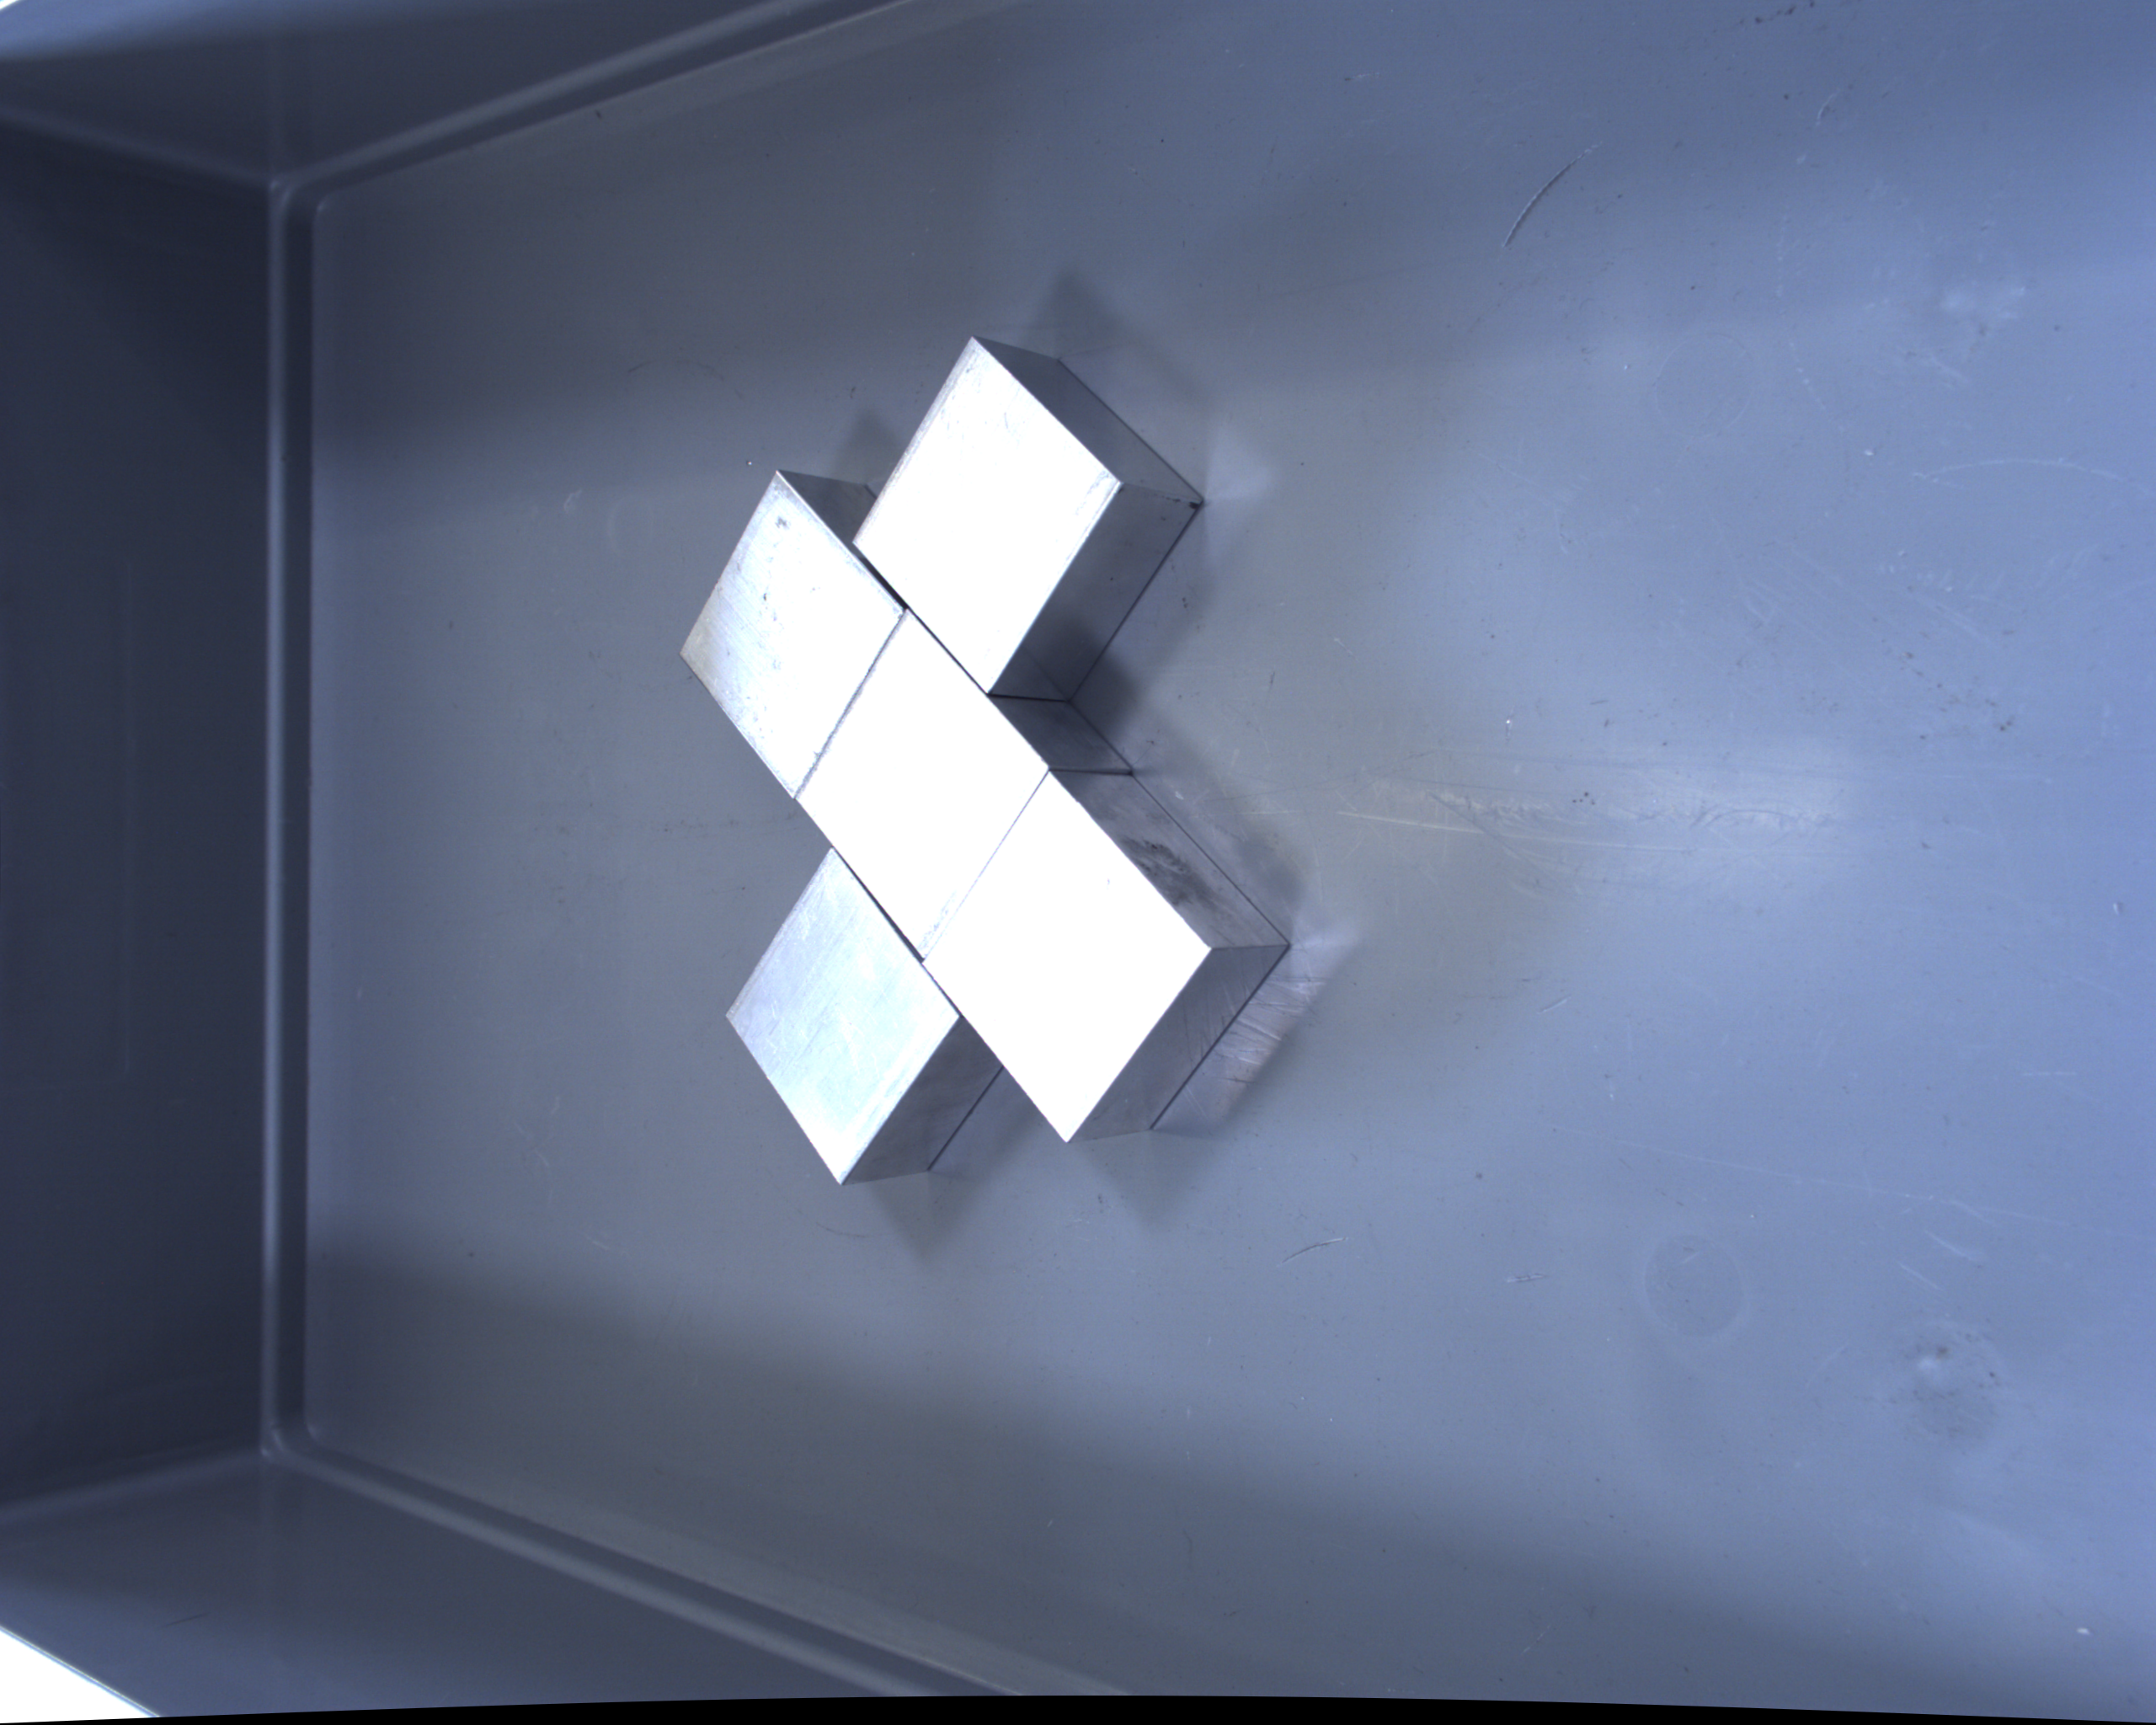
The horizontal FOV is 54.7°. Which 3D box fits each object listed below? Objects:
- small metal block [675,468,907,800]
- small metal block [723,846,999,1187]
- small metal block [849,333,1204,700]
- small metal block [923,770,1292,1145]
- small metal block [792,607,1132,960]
[{"bbox_3d":[-0.054,-0.048,0.449,0.050,0.025,0.050,49,119,29],"label":"small metal block"},{"bbox_3d":[-0.042,0.032,0.439,0.050,0.025,0.050,50,120,28],"label":"small metal block"},{"bbox_3d":[-0.011,-0.068,0.413,0.050,0.025,0.050,49,118,28],"label":"small metal block"},{"bbox_3d":[0.004,0.018,0.400,0.050,0.025,0.050,49,119,29],"label":"small metal block"},{"bbox_3d":[-0.025,-0.016,0.424,0.050,0.025,0.050,49,119,29],"label":"small metal block"}]
